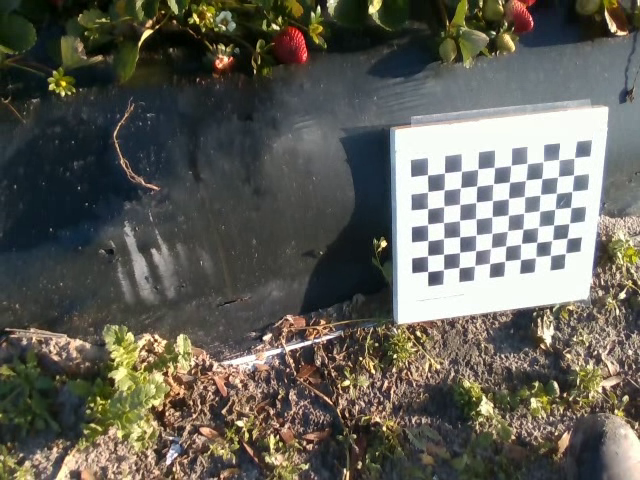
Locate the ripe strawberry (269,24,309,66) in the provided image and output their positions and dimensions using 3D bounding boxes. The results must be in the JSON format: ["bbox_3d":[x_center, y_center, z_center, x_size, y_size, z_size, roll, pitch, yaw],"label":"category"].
[{"bbox_3d":[-0.033,-0.234,0.758,0.052,0.052,0.041,-36,-36,2],"label":"ripe strawberry"}]
